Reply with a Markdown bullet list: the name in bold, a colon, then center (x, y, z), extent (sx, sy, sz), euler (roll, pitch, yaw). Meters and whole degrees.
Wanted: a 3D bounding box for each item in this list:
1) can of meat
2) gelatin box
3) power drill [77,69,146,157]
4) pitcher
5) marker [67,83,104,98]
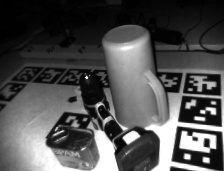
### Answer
- **can of meat**: center (-0.079, 0.137, 0.499), extent (0.101, 0.084, 0.058), euler (2, 40, 19)
- **gelatin box**: center (-0.056, 0.036, 0.629), extent (0.088, 0.074, 0.030), euler (11, 50, 26)
- **power drill**: center (-0.006, 0.063, 0.493), extent (0.058, 0.186, 0.184), euler (-36, 49, -20)
- **pitcher**: center (0.064, -0.020, 0.535), extent (0.134, 0.245, 0.186), euler (-38, 38, -21)
- **marker**: center (-0.085, 0.017, 0.700), extent (0.121, 0.020, 0.019), euler (-16, 39, -1)
